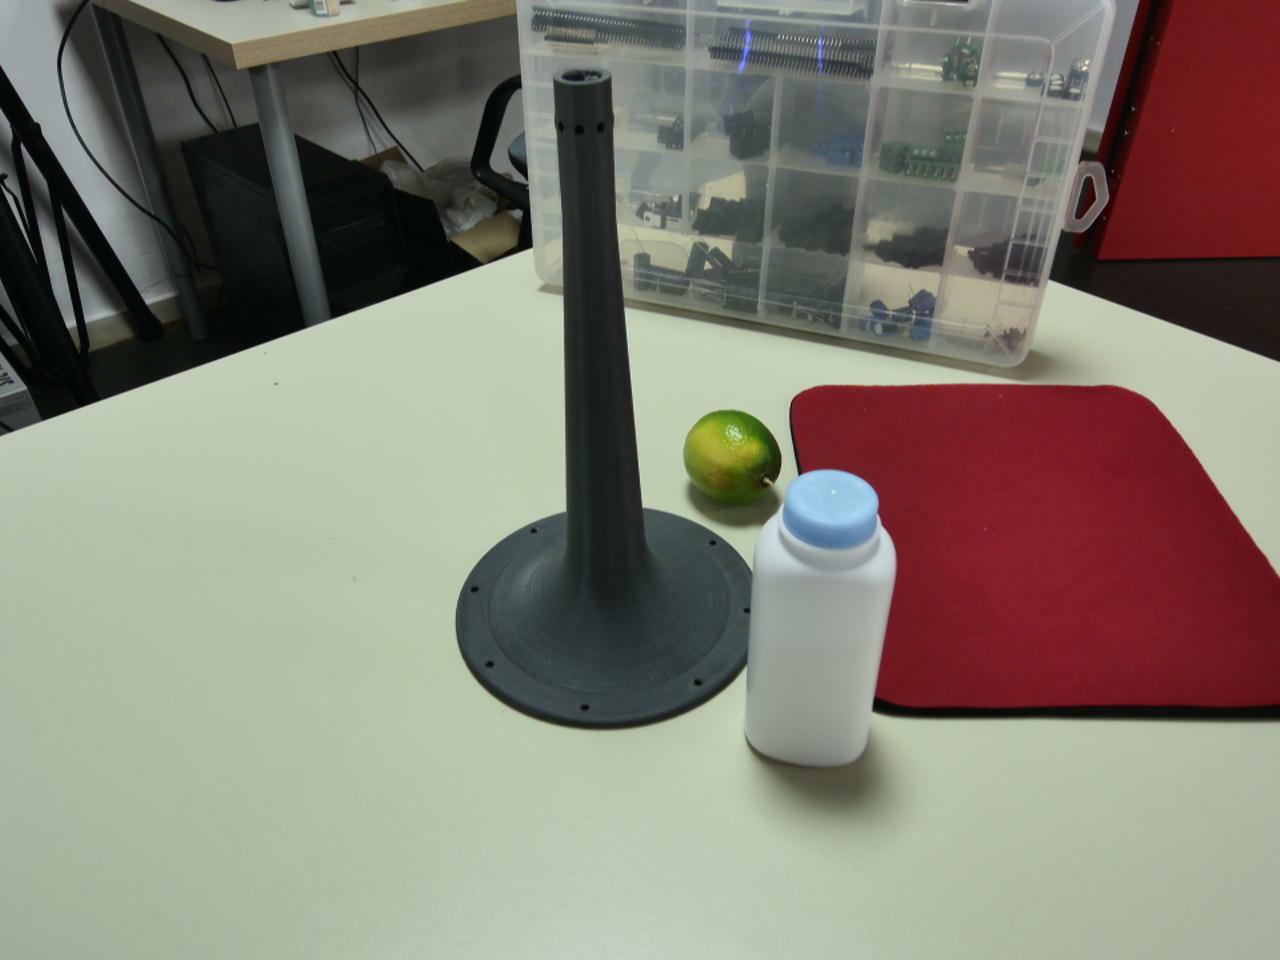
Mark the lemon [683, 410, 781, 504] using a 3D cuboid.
[{"bbox_3d":[0.051,-0.013,0.554,0.054,0.050,0.055,6,36,8],"label":"lemon"}]
